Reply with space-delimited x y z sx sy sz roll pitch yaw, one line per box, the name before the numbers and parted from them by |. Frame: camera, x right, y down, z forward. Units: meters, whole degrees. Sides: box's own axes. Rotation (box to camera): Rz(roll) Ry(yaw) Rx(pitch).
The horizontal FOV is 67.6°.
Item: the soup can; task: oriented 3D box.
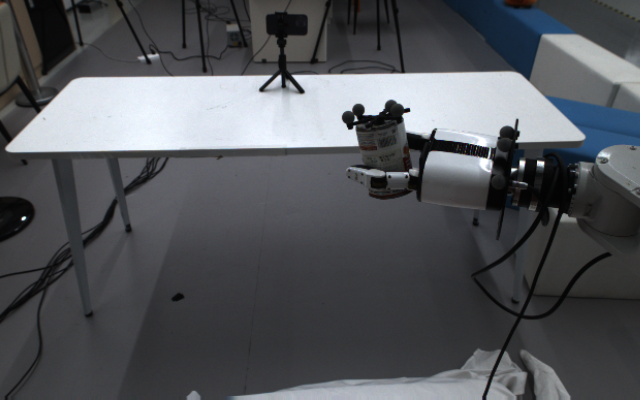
soup can | 0.093 -0.060 0.670 0.067 0.101 0.067 -13 20 5
